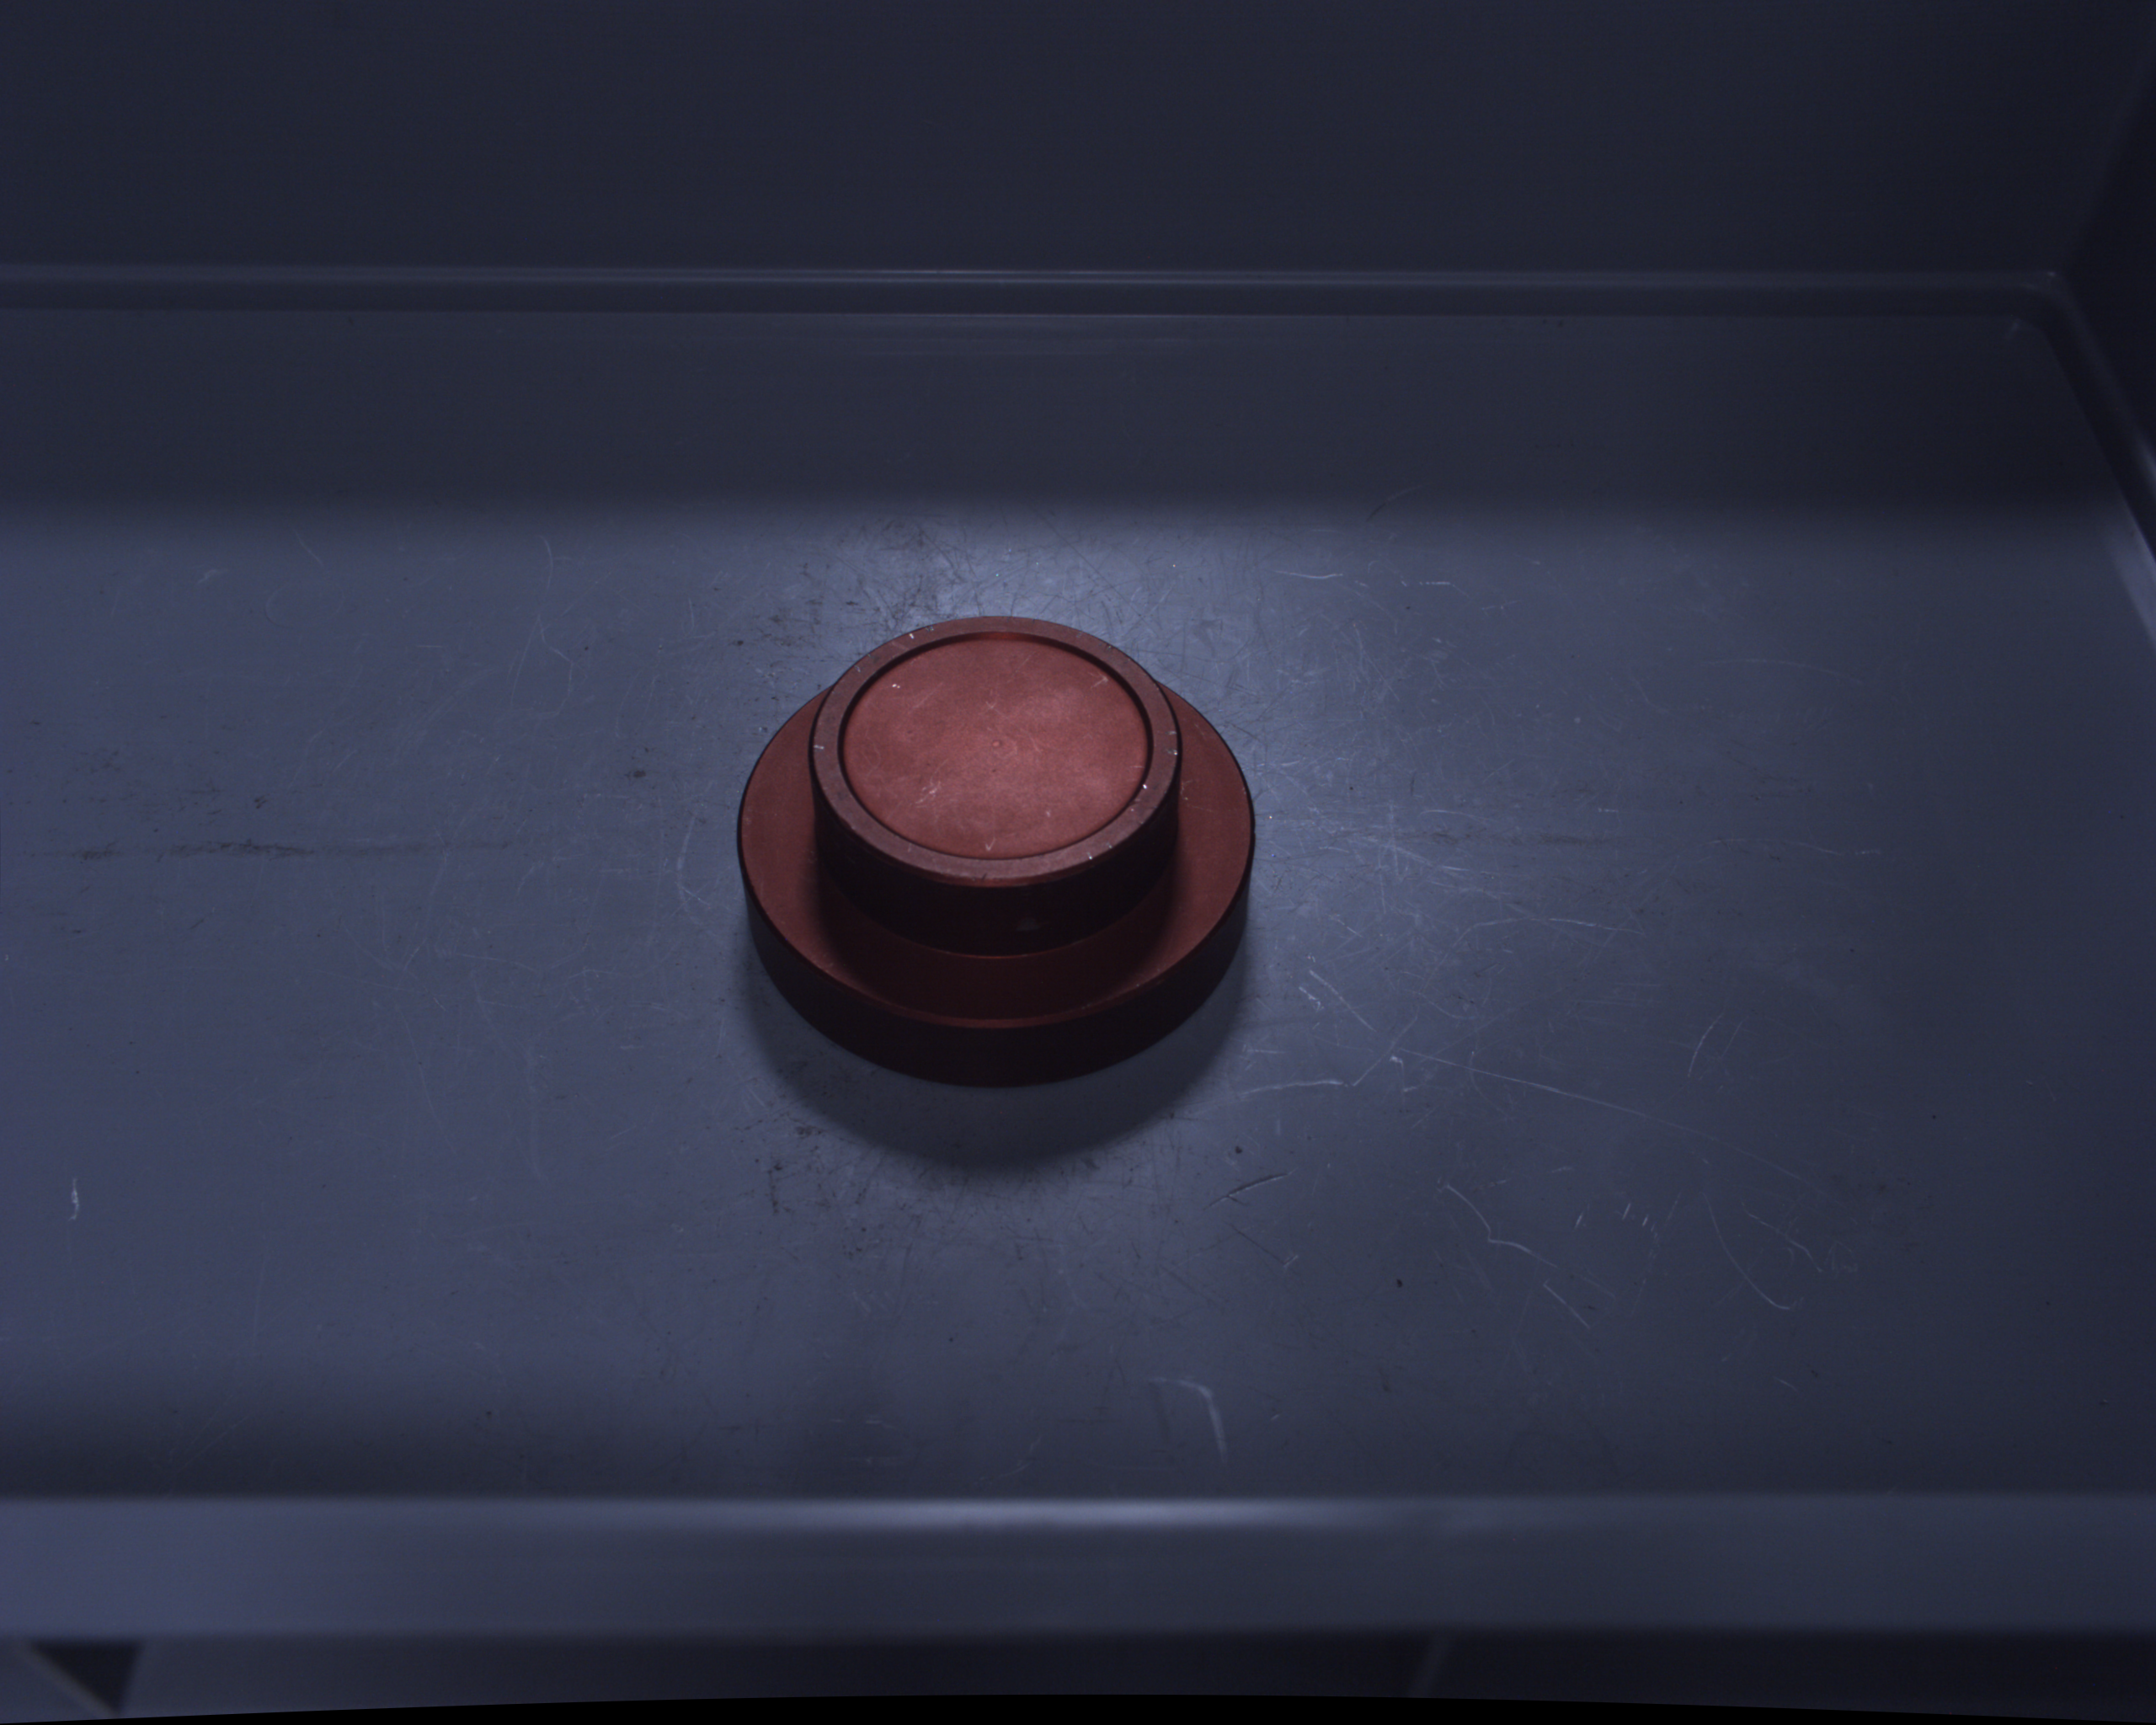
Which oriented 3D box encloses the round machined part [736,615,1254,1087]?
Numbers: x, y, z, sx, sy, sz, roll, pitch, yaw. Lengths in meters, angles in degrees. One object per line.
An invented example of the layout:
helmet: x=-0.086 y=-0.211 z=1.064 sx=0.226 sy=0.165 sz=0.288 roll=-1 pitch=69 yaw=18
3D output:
round machined part: x=-0.016 y=-0.009 z=0.397 sx=0.099 sy=0.042 sz=0.098 roll=0 pitch=50 yaw=0
